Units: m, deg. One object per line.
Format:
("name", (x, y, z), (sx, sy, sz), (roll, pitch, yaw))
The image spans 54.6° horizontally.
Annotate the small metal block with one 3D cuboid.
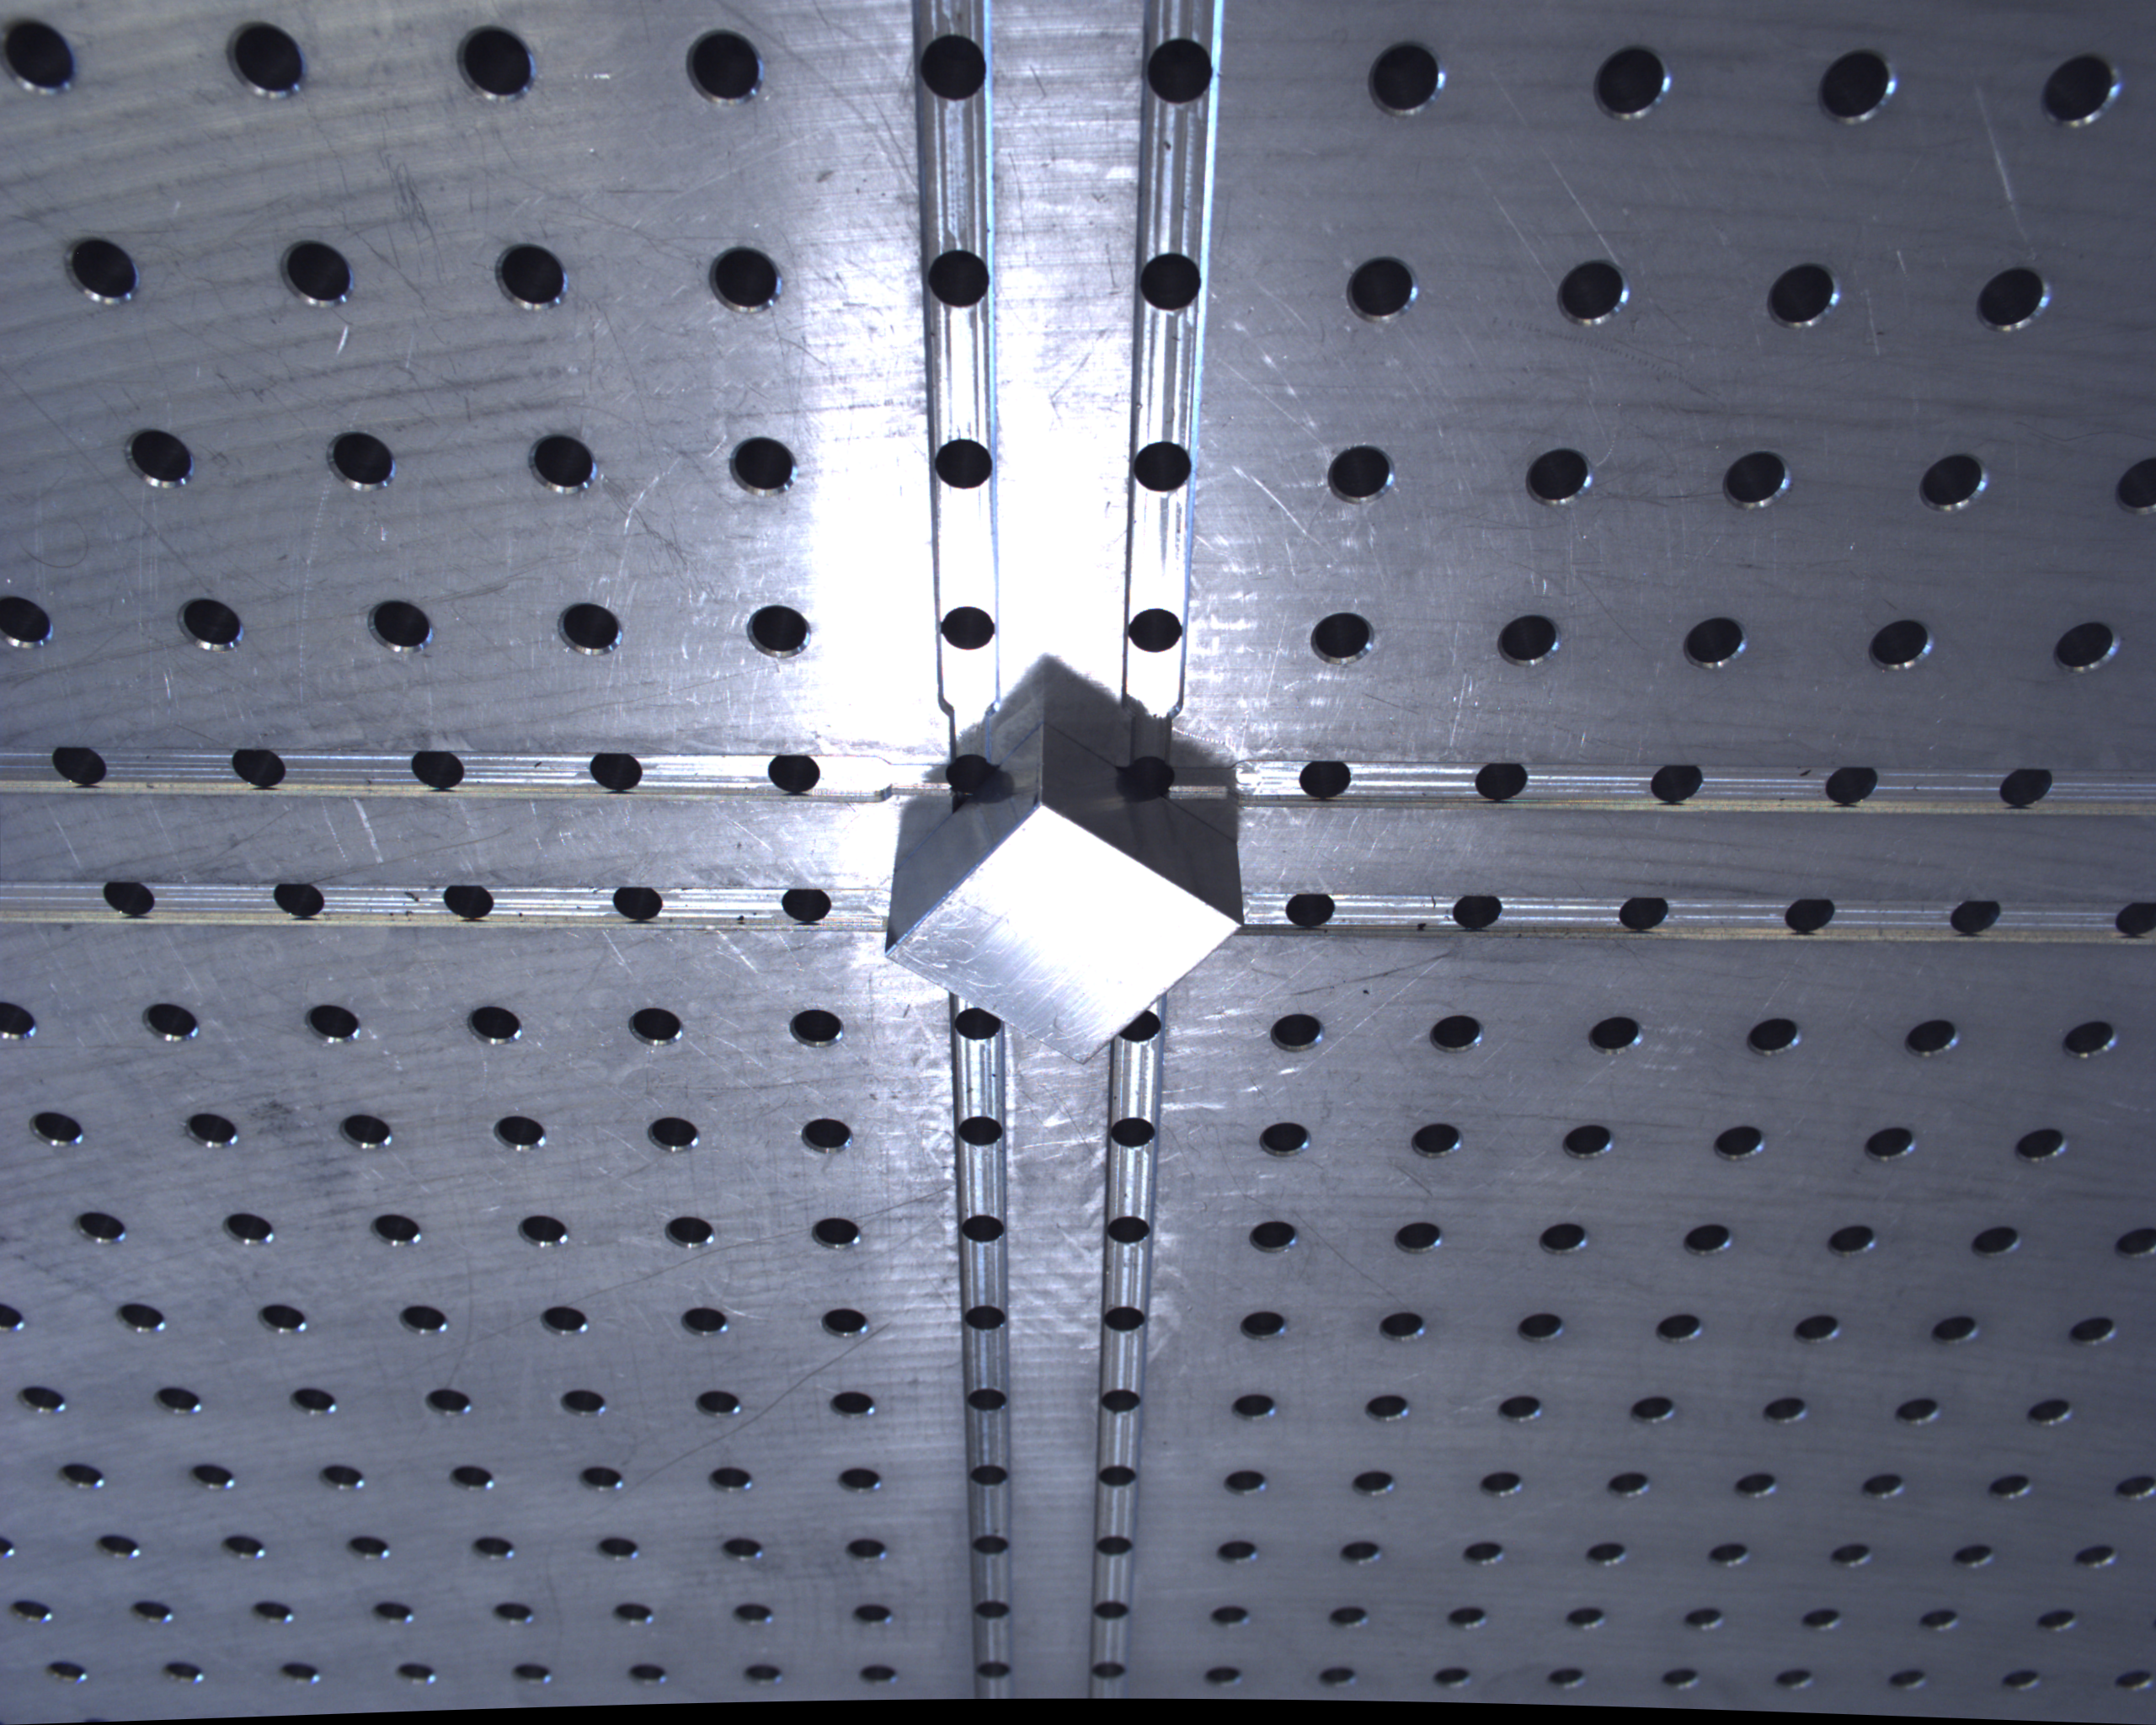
("small metal block", (-0.003, 0.007, 0.417), (0.050, 0.025, 0.050), (31, 124, -24))
